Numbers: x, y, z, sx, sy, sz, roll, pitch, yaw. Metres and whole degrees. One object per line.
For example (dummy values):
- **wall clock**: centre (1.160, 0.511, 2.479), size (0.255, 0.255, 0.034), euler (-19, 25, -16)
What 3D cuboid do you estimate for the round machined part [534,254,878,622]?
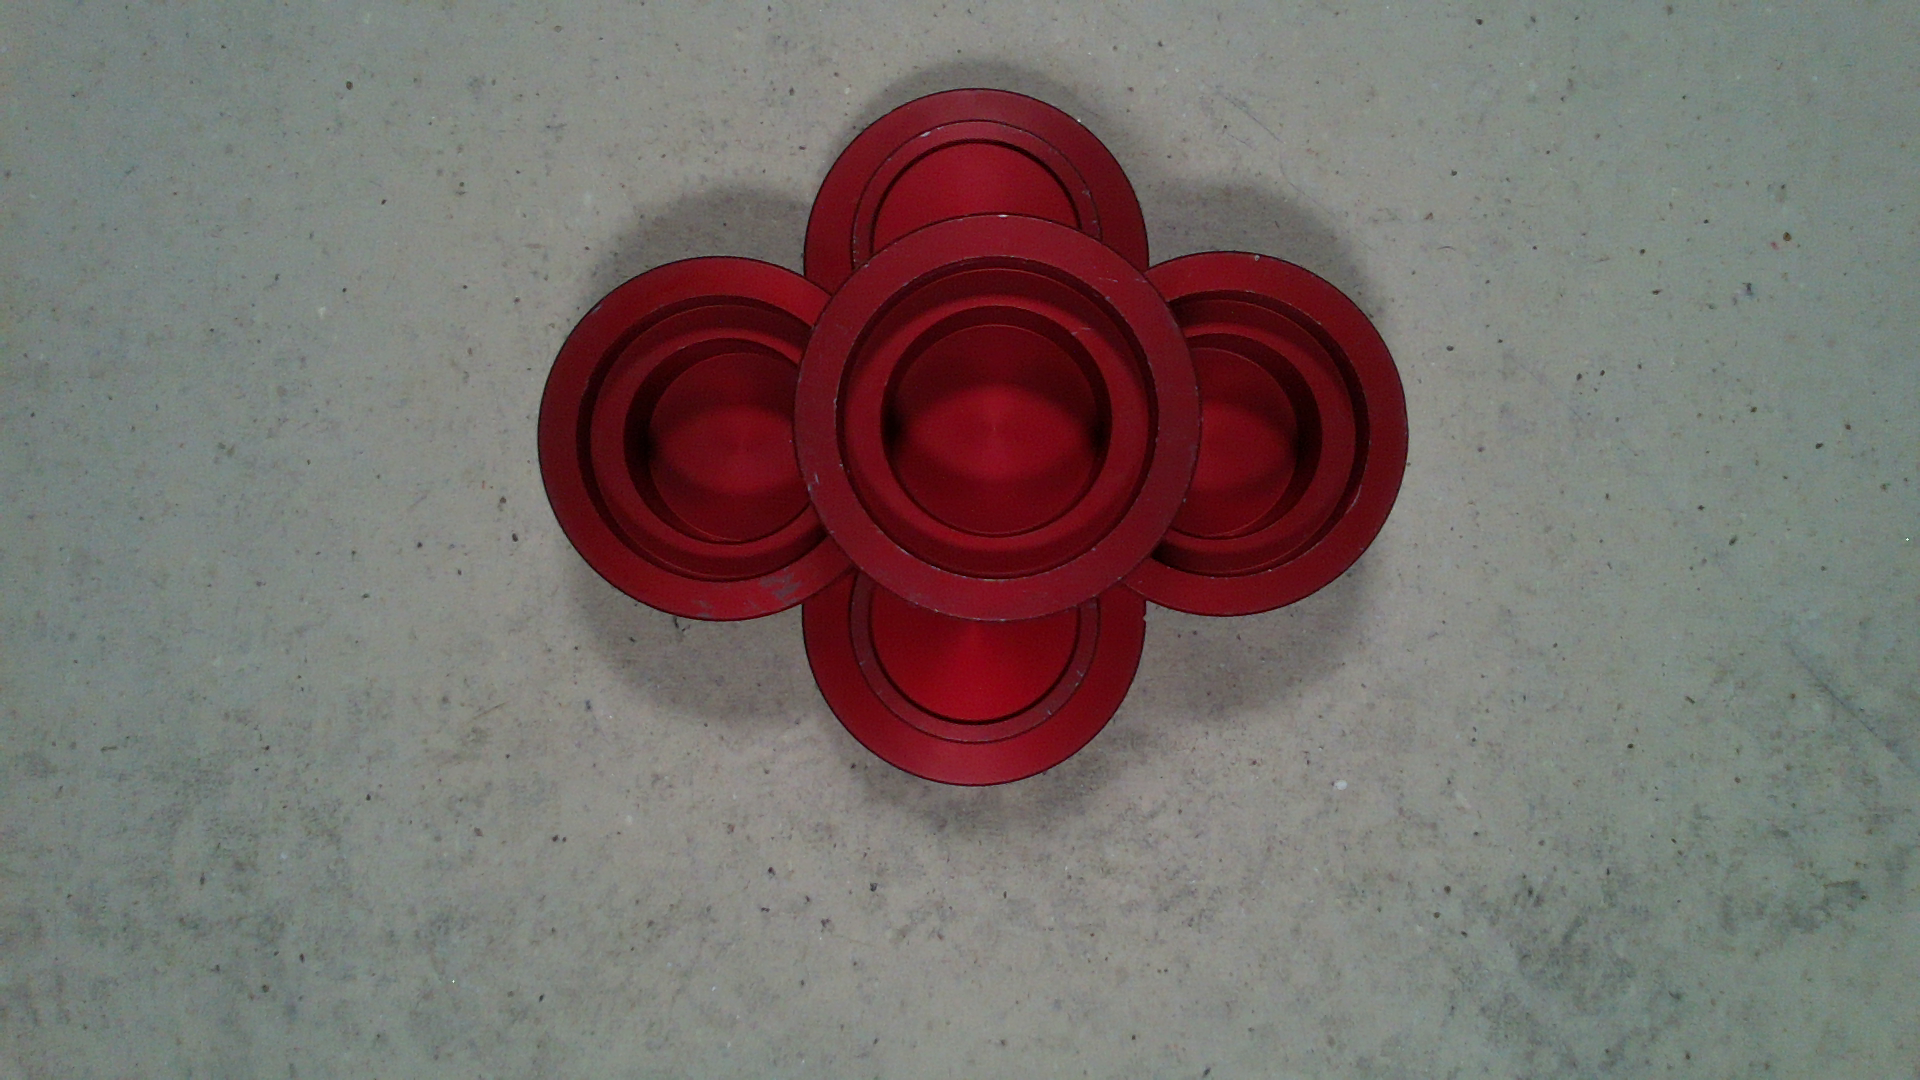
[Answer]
- **round machined part**: centre (-0.064, -0.027, 0.386), size (0.098, 0.042, 0.098), euler (0, 90, 0)

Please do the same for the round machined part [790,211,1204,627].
- **round machined part**: centre (0.009, -0.029, 0.344), size (0.098, 0.042, 0.098), euler (0, 91, 0)

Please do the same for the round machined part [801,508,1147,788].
- **round machined part**: centre (0.004, 0.021, 0.387), size (0.098, 0.042, 0.098), euler (0, 90, 0)

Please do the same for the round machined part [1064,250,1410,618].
- **round machined part**: centre (0.071, -0.028, 0.387), size (0.098, 0.042, 0.098), euler (0, 90, 0)

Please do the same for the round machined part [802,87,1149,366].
- **round machined part**: centre (0.004, -0.079, 0.386), size (0.098, 0.042, 0.098), euler (0, 90, 0)
